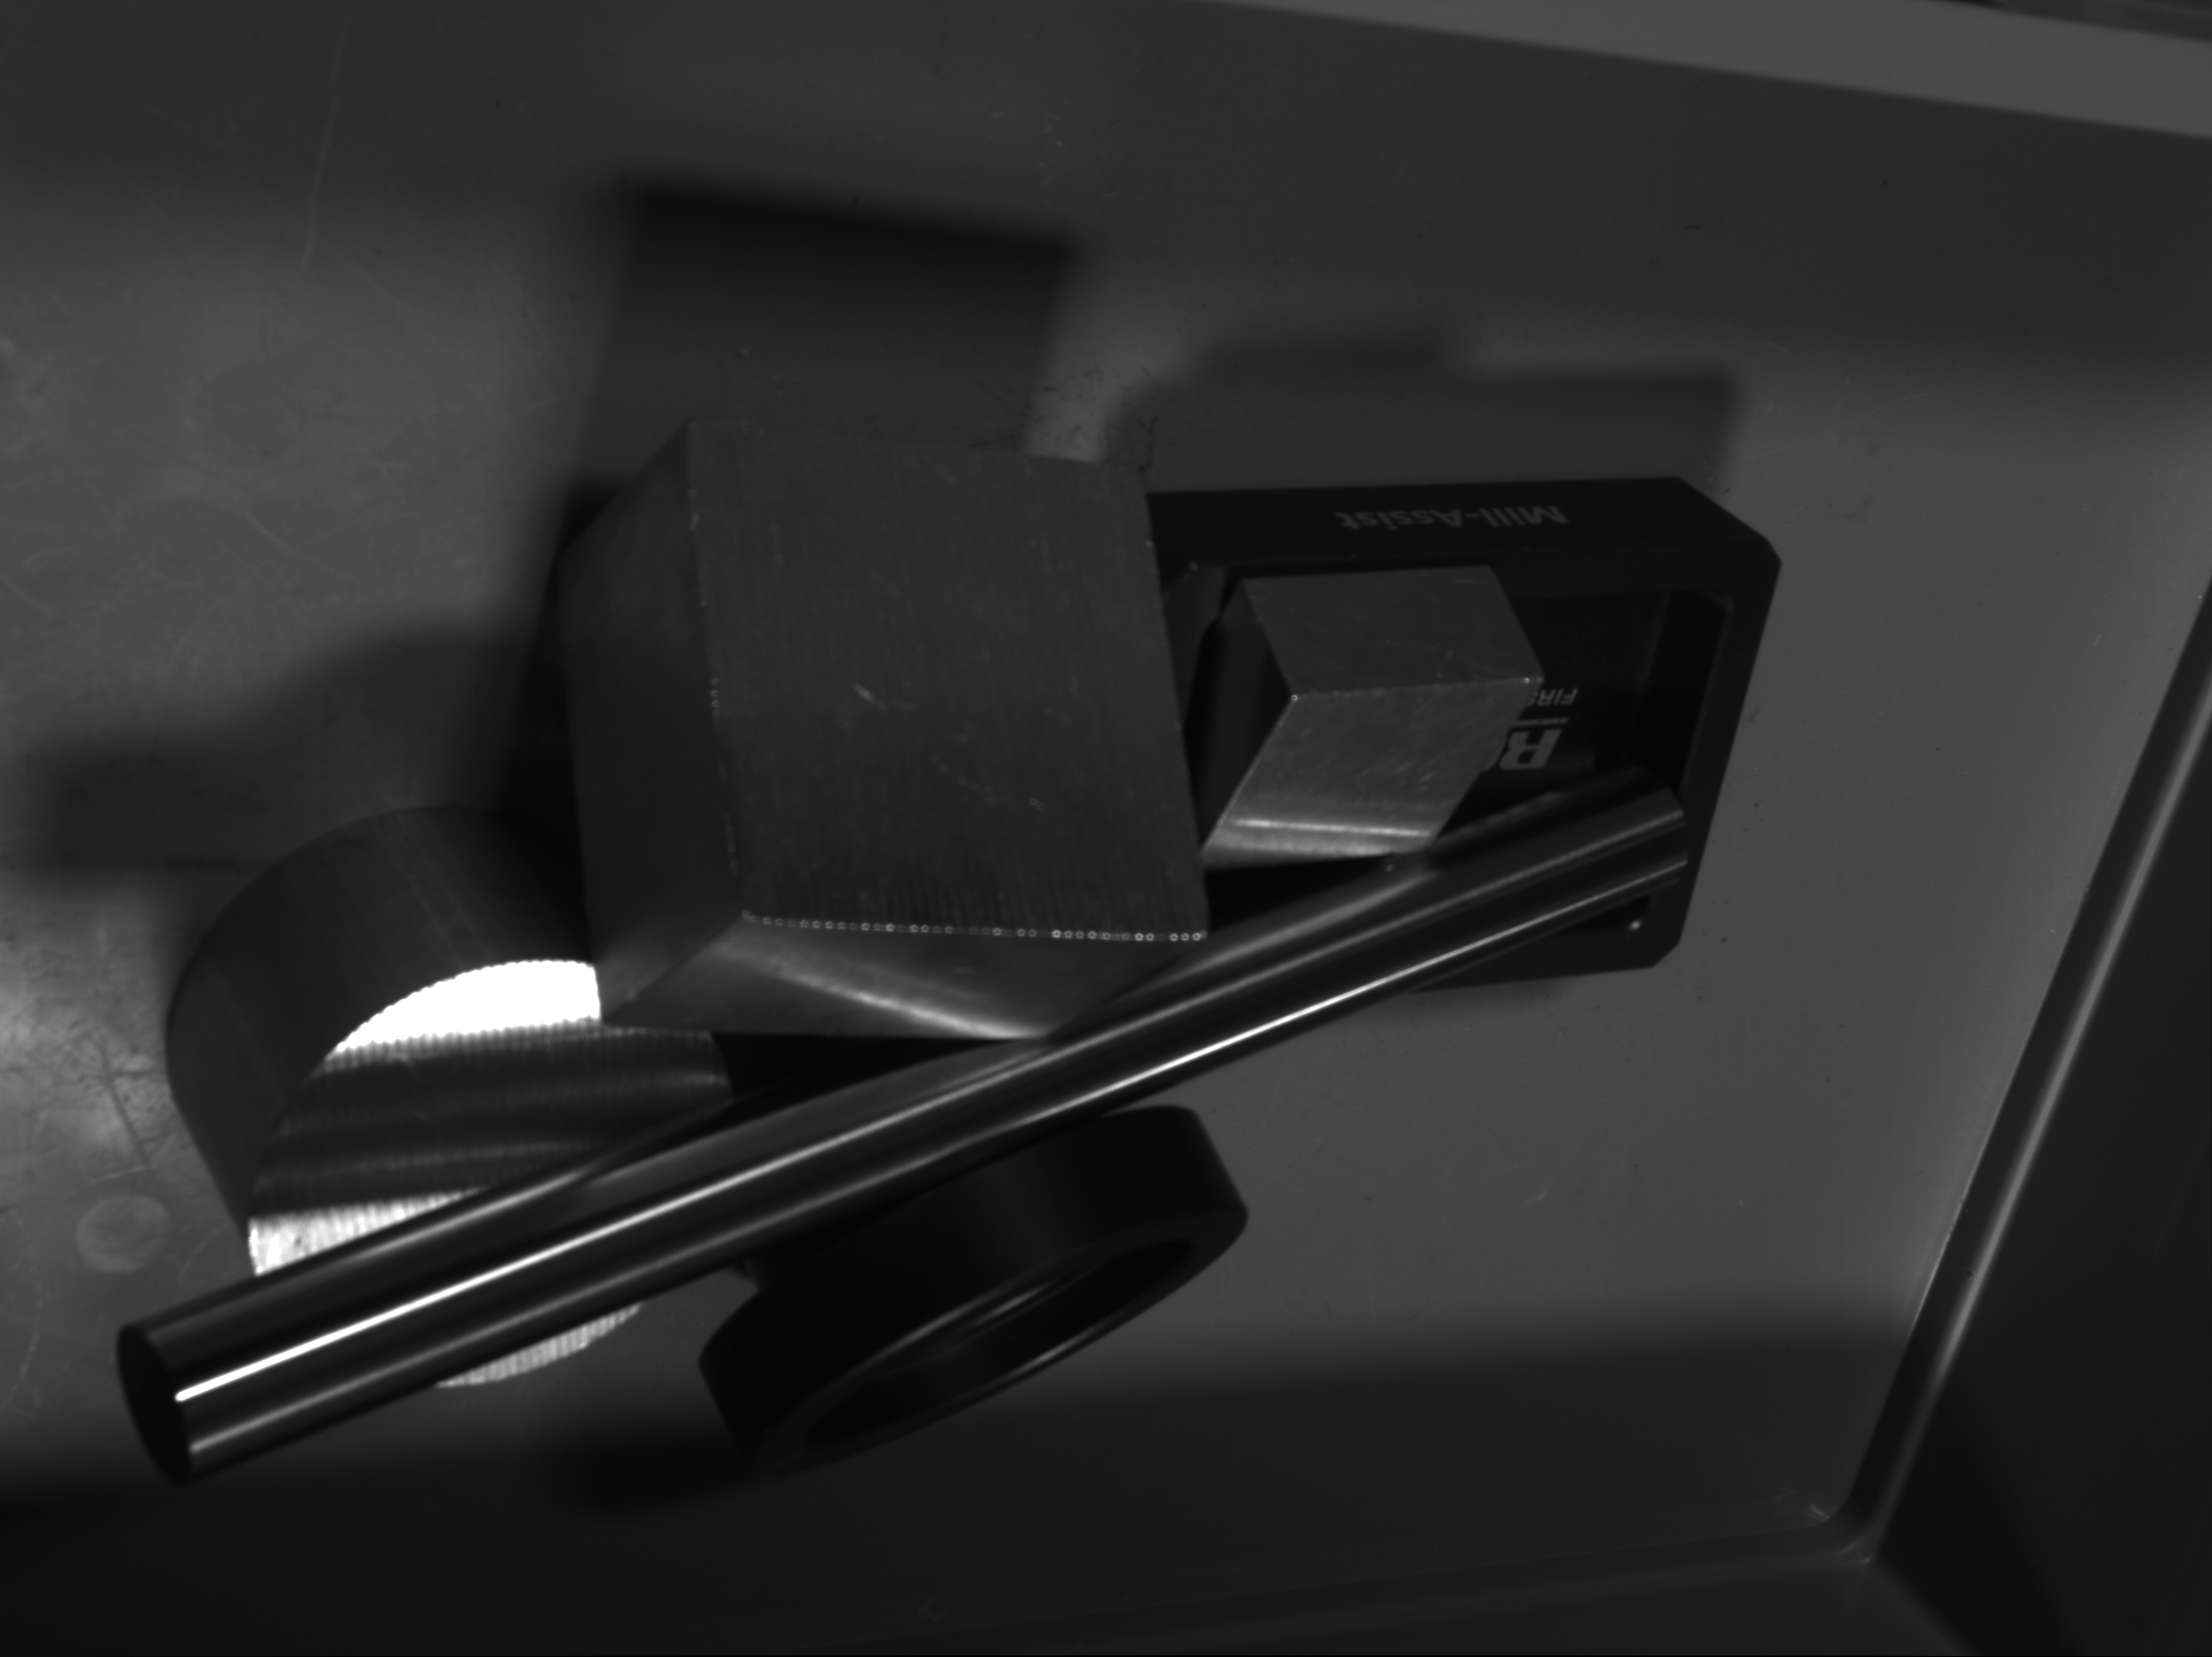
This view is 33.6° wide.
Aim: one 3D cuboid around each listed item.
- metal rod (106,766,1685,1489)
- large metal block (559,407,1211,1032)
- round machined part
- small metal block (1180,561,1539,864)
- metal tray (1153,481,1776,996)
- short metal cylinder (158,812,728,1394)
[{"bbox_3d":[-0.019,0.042,0.610,0.301,0.025,0.025,-19,127,-33],"label":"metal rod"},{"bbox_3d":[-0.036,-0.015,0.574,0.080,0.080,0.050,4,159,-31],"label":"large metal block"},{"bbox_3d":[-0.029,0.073,0.646,0.098,0.042,0.098,-25,164,-8],"label":"round machined part"},{"bbox_3d":[0.039,-0.020,0.632,0.050,0.025,0.050,-5,146,-28],"label":"small metal block"},{"bbox_3d":[0.052,-0.015,0.667,0.130,0.030,0.090,-5,120,-28],"label":"metal tray"},{"bbox_3d":[-0.108,0.044,0.596,0.080,0.050,0.080,-15,125,-22],"label":"short metal cylinder"}]
